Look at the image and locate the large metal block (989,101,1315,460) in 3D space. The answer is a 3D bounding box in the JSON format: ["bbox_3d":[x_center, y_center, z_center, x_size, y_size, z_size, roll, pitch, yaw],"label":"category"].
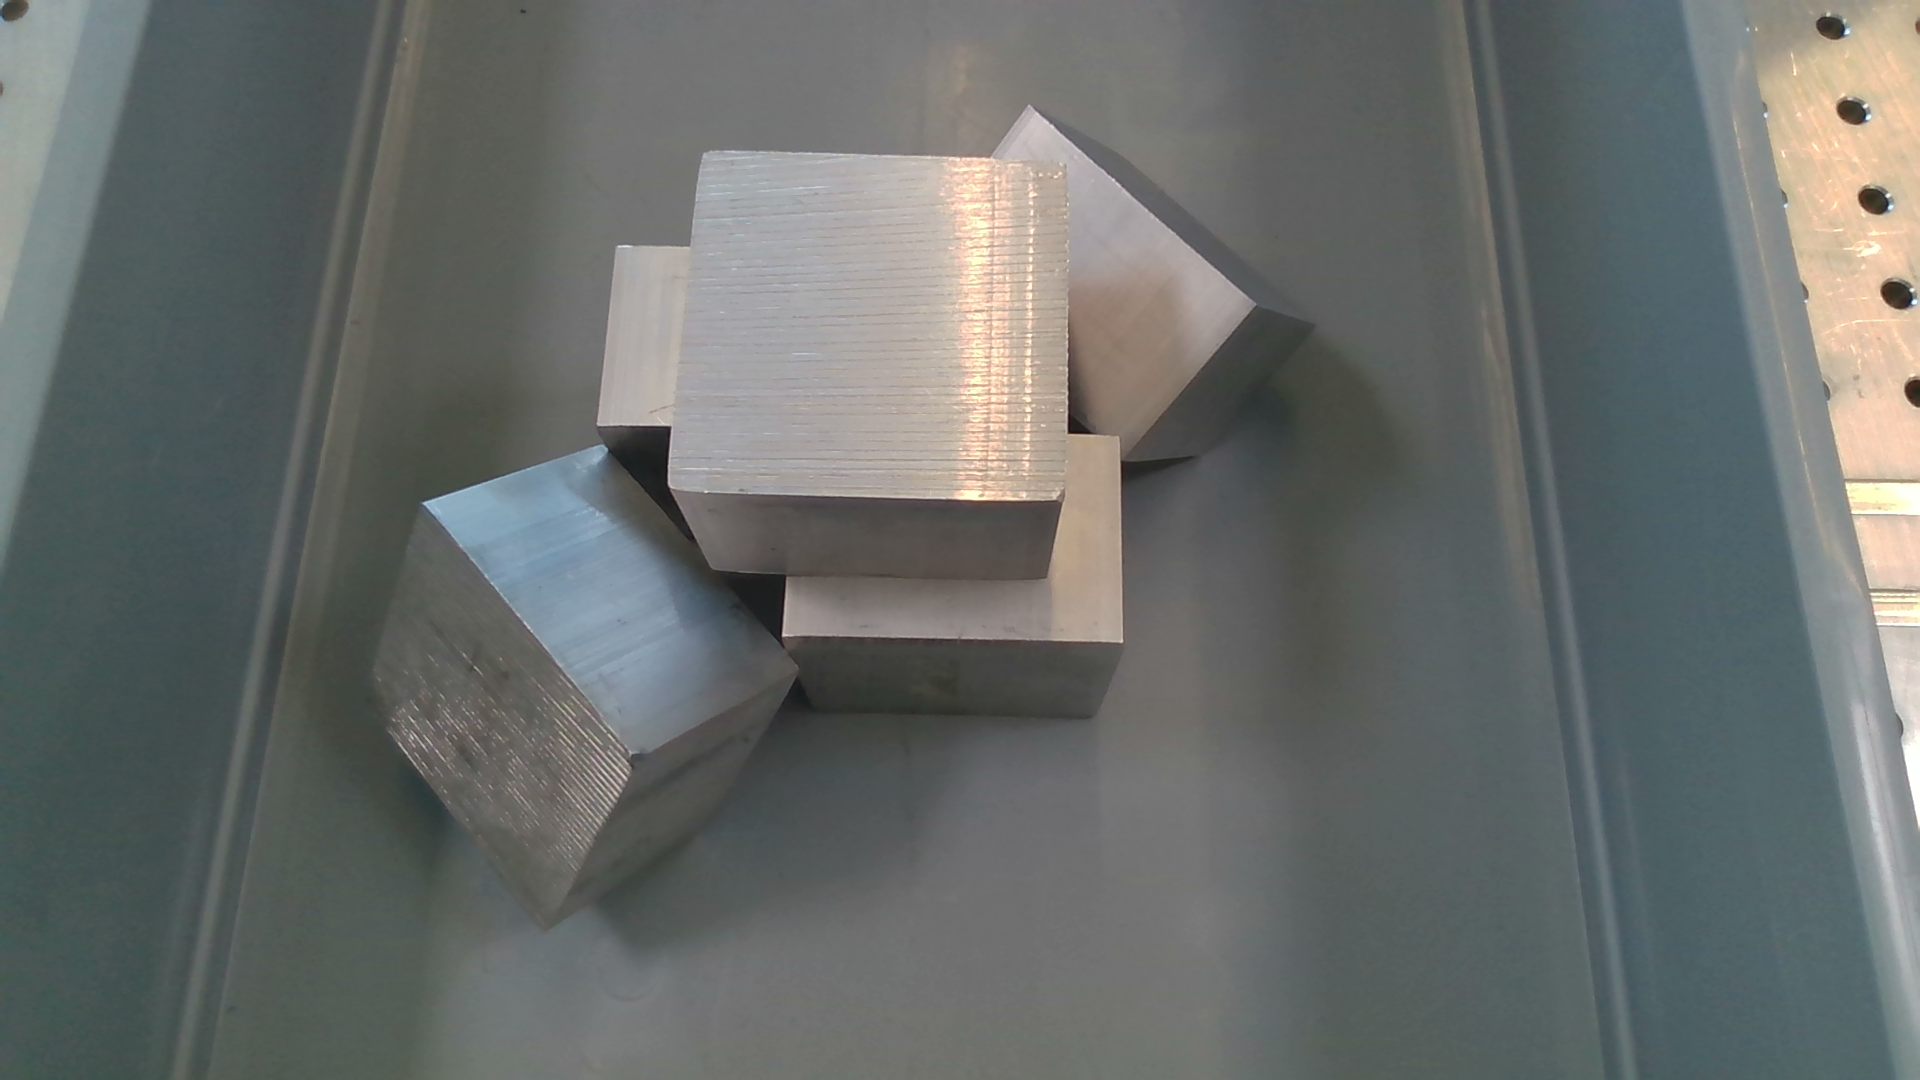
[{"bbox_3d":[0.045,-0.069,0.382,0.080,0.080,0.050,45,111,14],"label":"large metal block"}]

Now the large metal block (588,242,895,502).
[{"bbox_3d":[-0.050,-0.038,0.379,0.080,0.080,0.050,1,71,0],"label":"large metal block"}]

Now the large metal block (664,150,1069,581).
[{"bbox_3d":[-0.018,-0.038,0.309,0.080,0.050,0.080,2,70,1],"label":"large metal block"}]

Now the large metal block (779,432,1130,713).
[{"bbox_3d":[-0.001,0.011,0.360,0.080,0.080,0.050,1,71,0],"label":"large metal block"}]

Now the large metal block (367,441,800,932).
[{"bbox_3d":[-0.097,0.036,0.345,0.080,0.080,0.050,47,42,15],"label":"large metal block"}]
